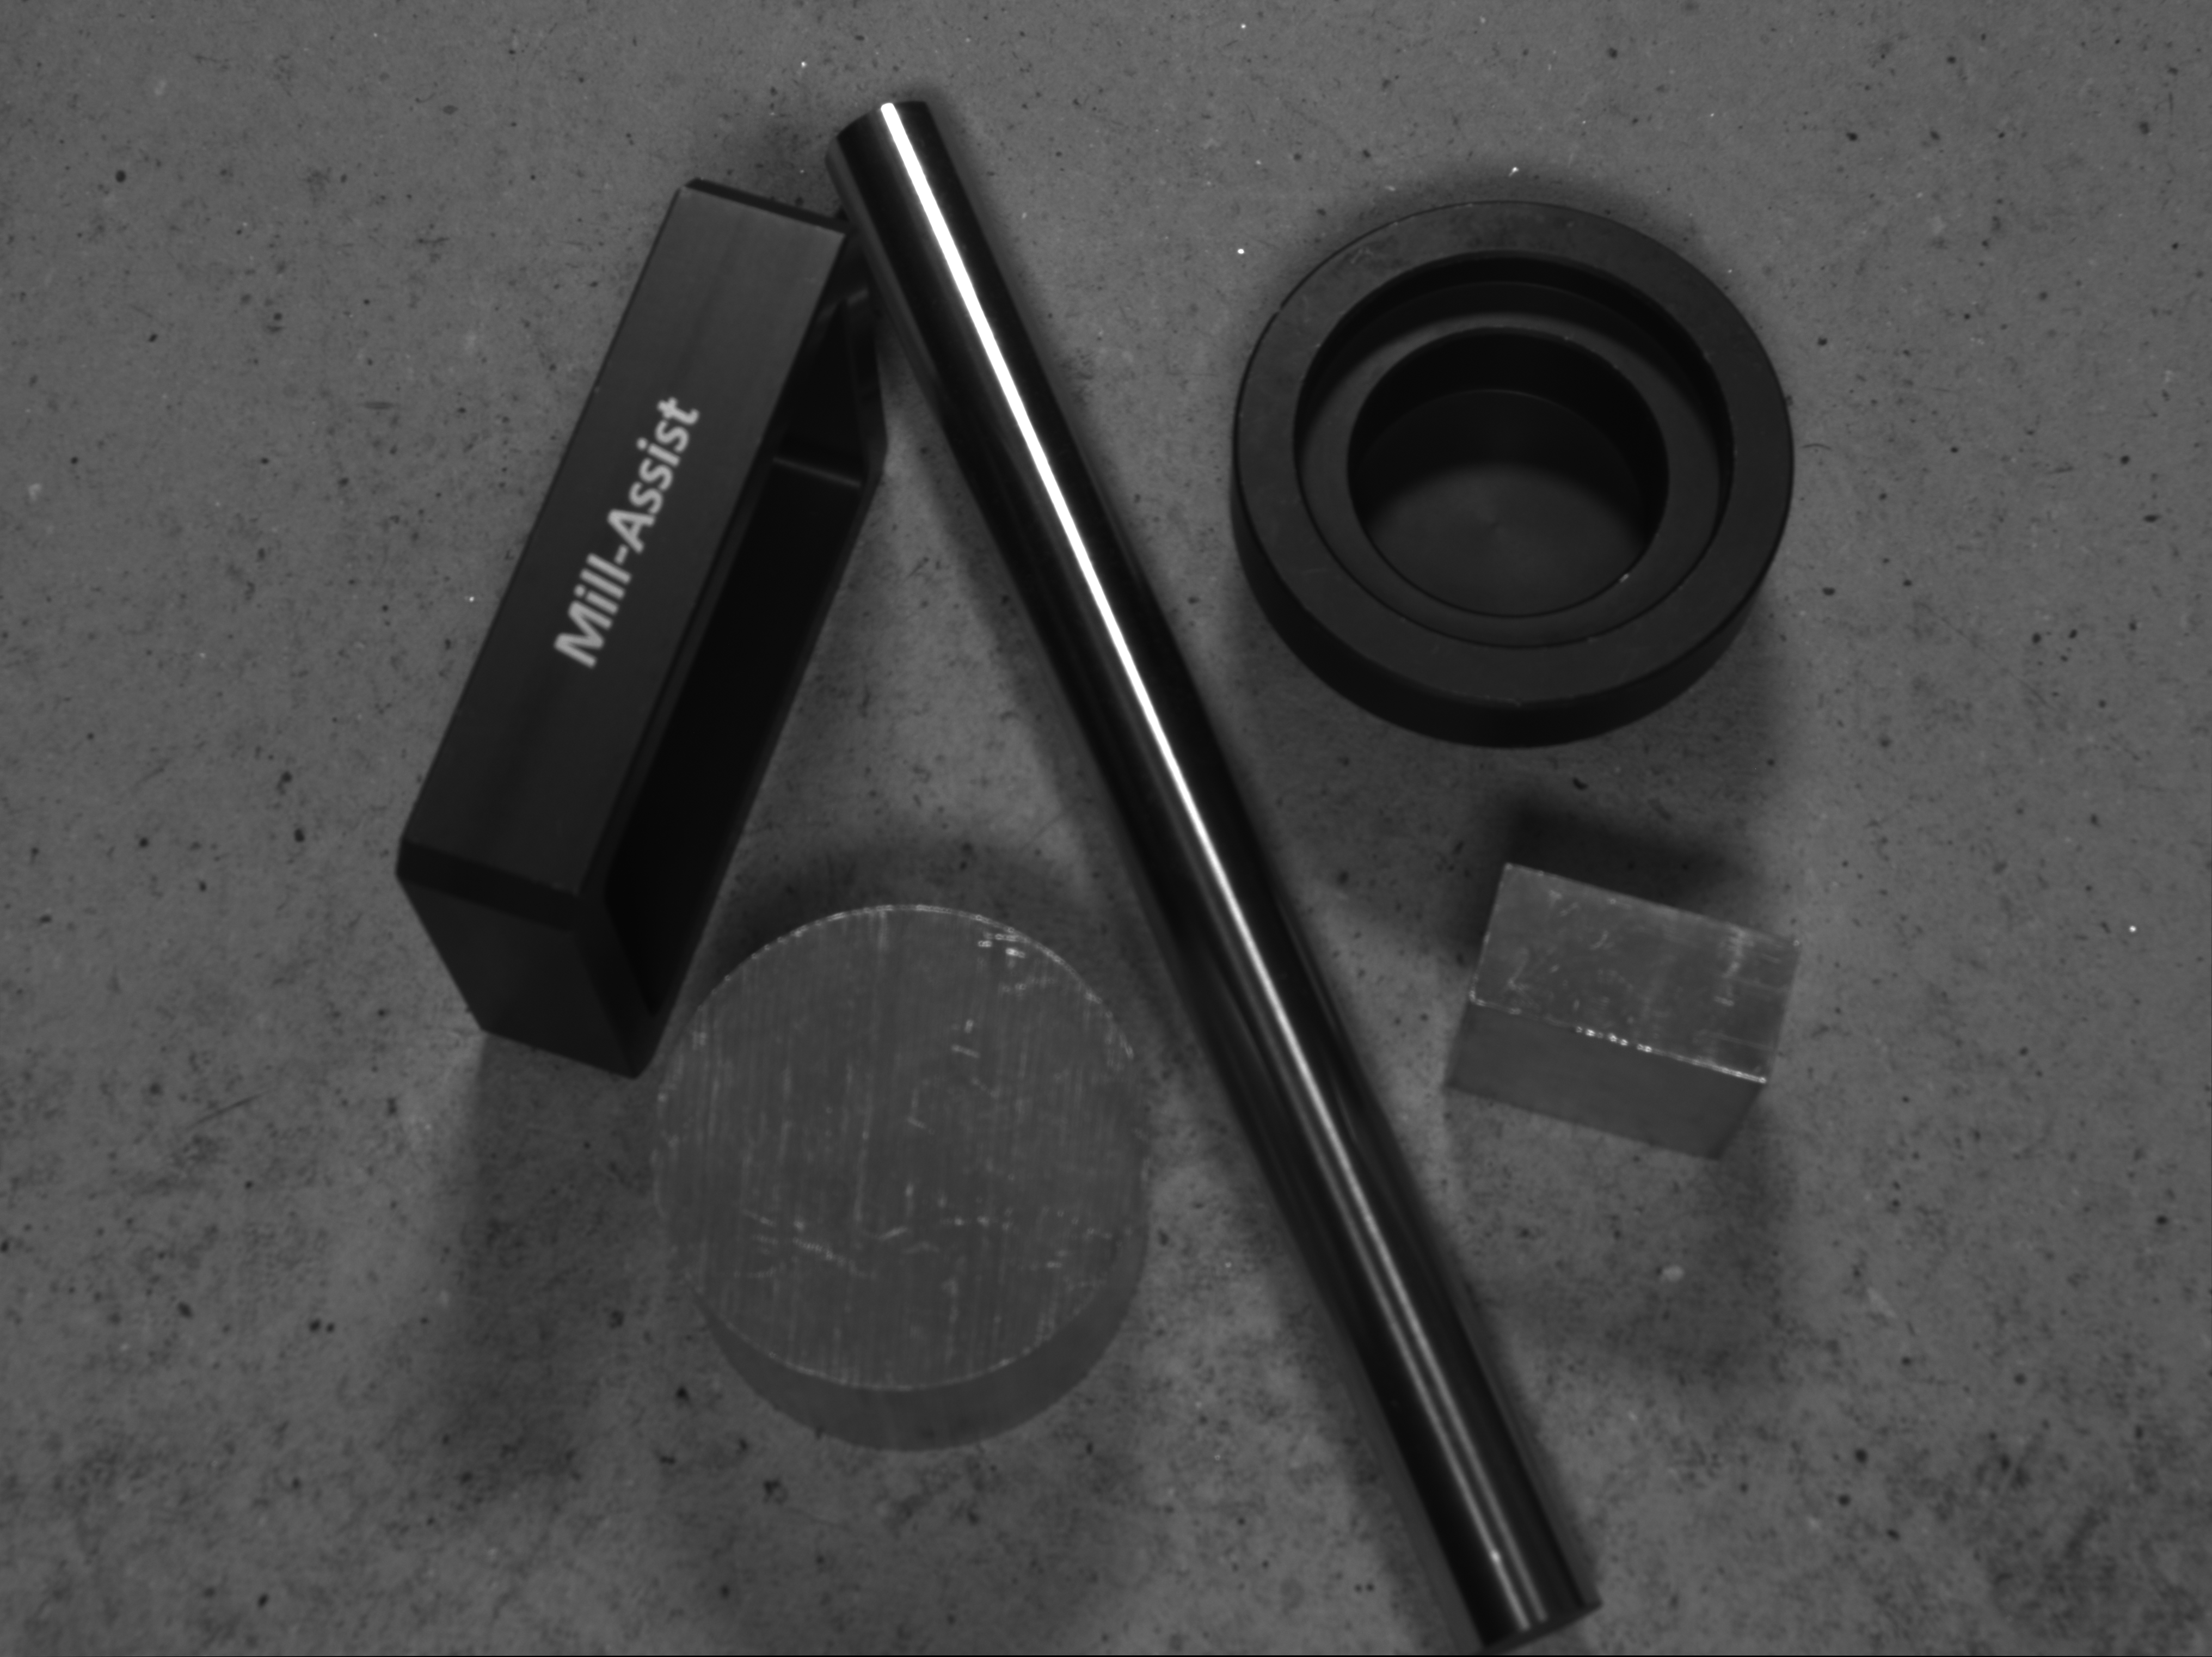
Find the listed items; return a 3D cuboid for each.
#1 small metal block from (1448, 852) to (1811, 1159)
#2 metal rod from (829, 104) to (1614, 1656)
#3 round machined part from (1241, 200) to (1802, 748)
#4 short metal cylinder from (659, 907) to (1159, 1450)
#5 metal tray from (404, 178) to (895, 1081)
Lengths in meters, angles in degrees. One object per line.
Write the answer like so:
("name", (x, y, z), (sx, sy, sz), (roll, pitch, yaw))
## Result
("small metal block", (0.087, 0.031, 0.618), (0.050, 0.050, 0.025), (16, 71, 6))
("metal rod", (0.015, 0.001, 0.645), (0.025, 0.025, 0.300), (-21, 71, -7))
("round machined part", (0.073, -0.060, 0.658), (0.098, 0.042, 0.098), (0, 70, 0))
("short metal cylinder", (-0.031, 0.059, 0.610), (0.080, 0.050, 0.080), (0, 70, 0))
("metal tray", (-0.074, -0.032, 0.622), (0.030, 0.090, 0.130), (17, 71, 6))
